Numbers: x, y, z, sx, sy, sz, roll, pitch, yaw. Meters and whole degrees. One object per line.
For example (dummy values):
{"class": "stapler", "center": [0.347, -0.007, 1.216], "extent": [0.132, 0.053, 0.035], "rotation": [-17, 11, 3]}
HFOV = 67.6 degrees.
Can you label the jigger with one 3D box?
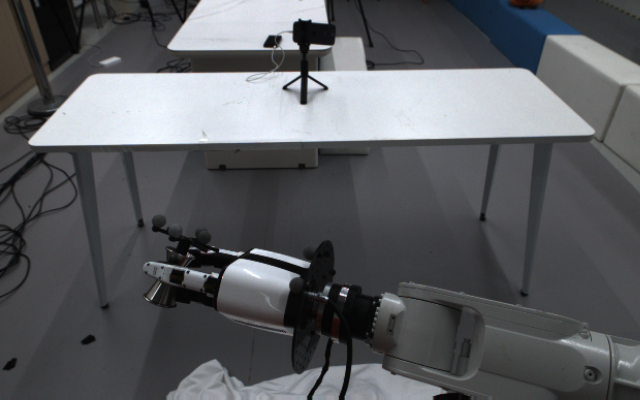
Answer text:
{"class": "jigger", "center": [-0.191, 0.096, 0.612], "extent": [0.043, 0.071, 0.043], "rotation": [24, -2, 1]}
